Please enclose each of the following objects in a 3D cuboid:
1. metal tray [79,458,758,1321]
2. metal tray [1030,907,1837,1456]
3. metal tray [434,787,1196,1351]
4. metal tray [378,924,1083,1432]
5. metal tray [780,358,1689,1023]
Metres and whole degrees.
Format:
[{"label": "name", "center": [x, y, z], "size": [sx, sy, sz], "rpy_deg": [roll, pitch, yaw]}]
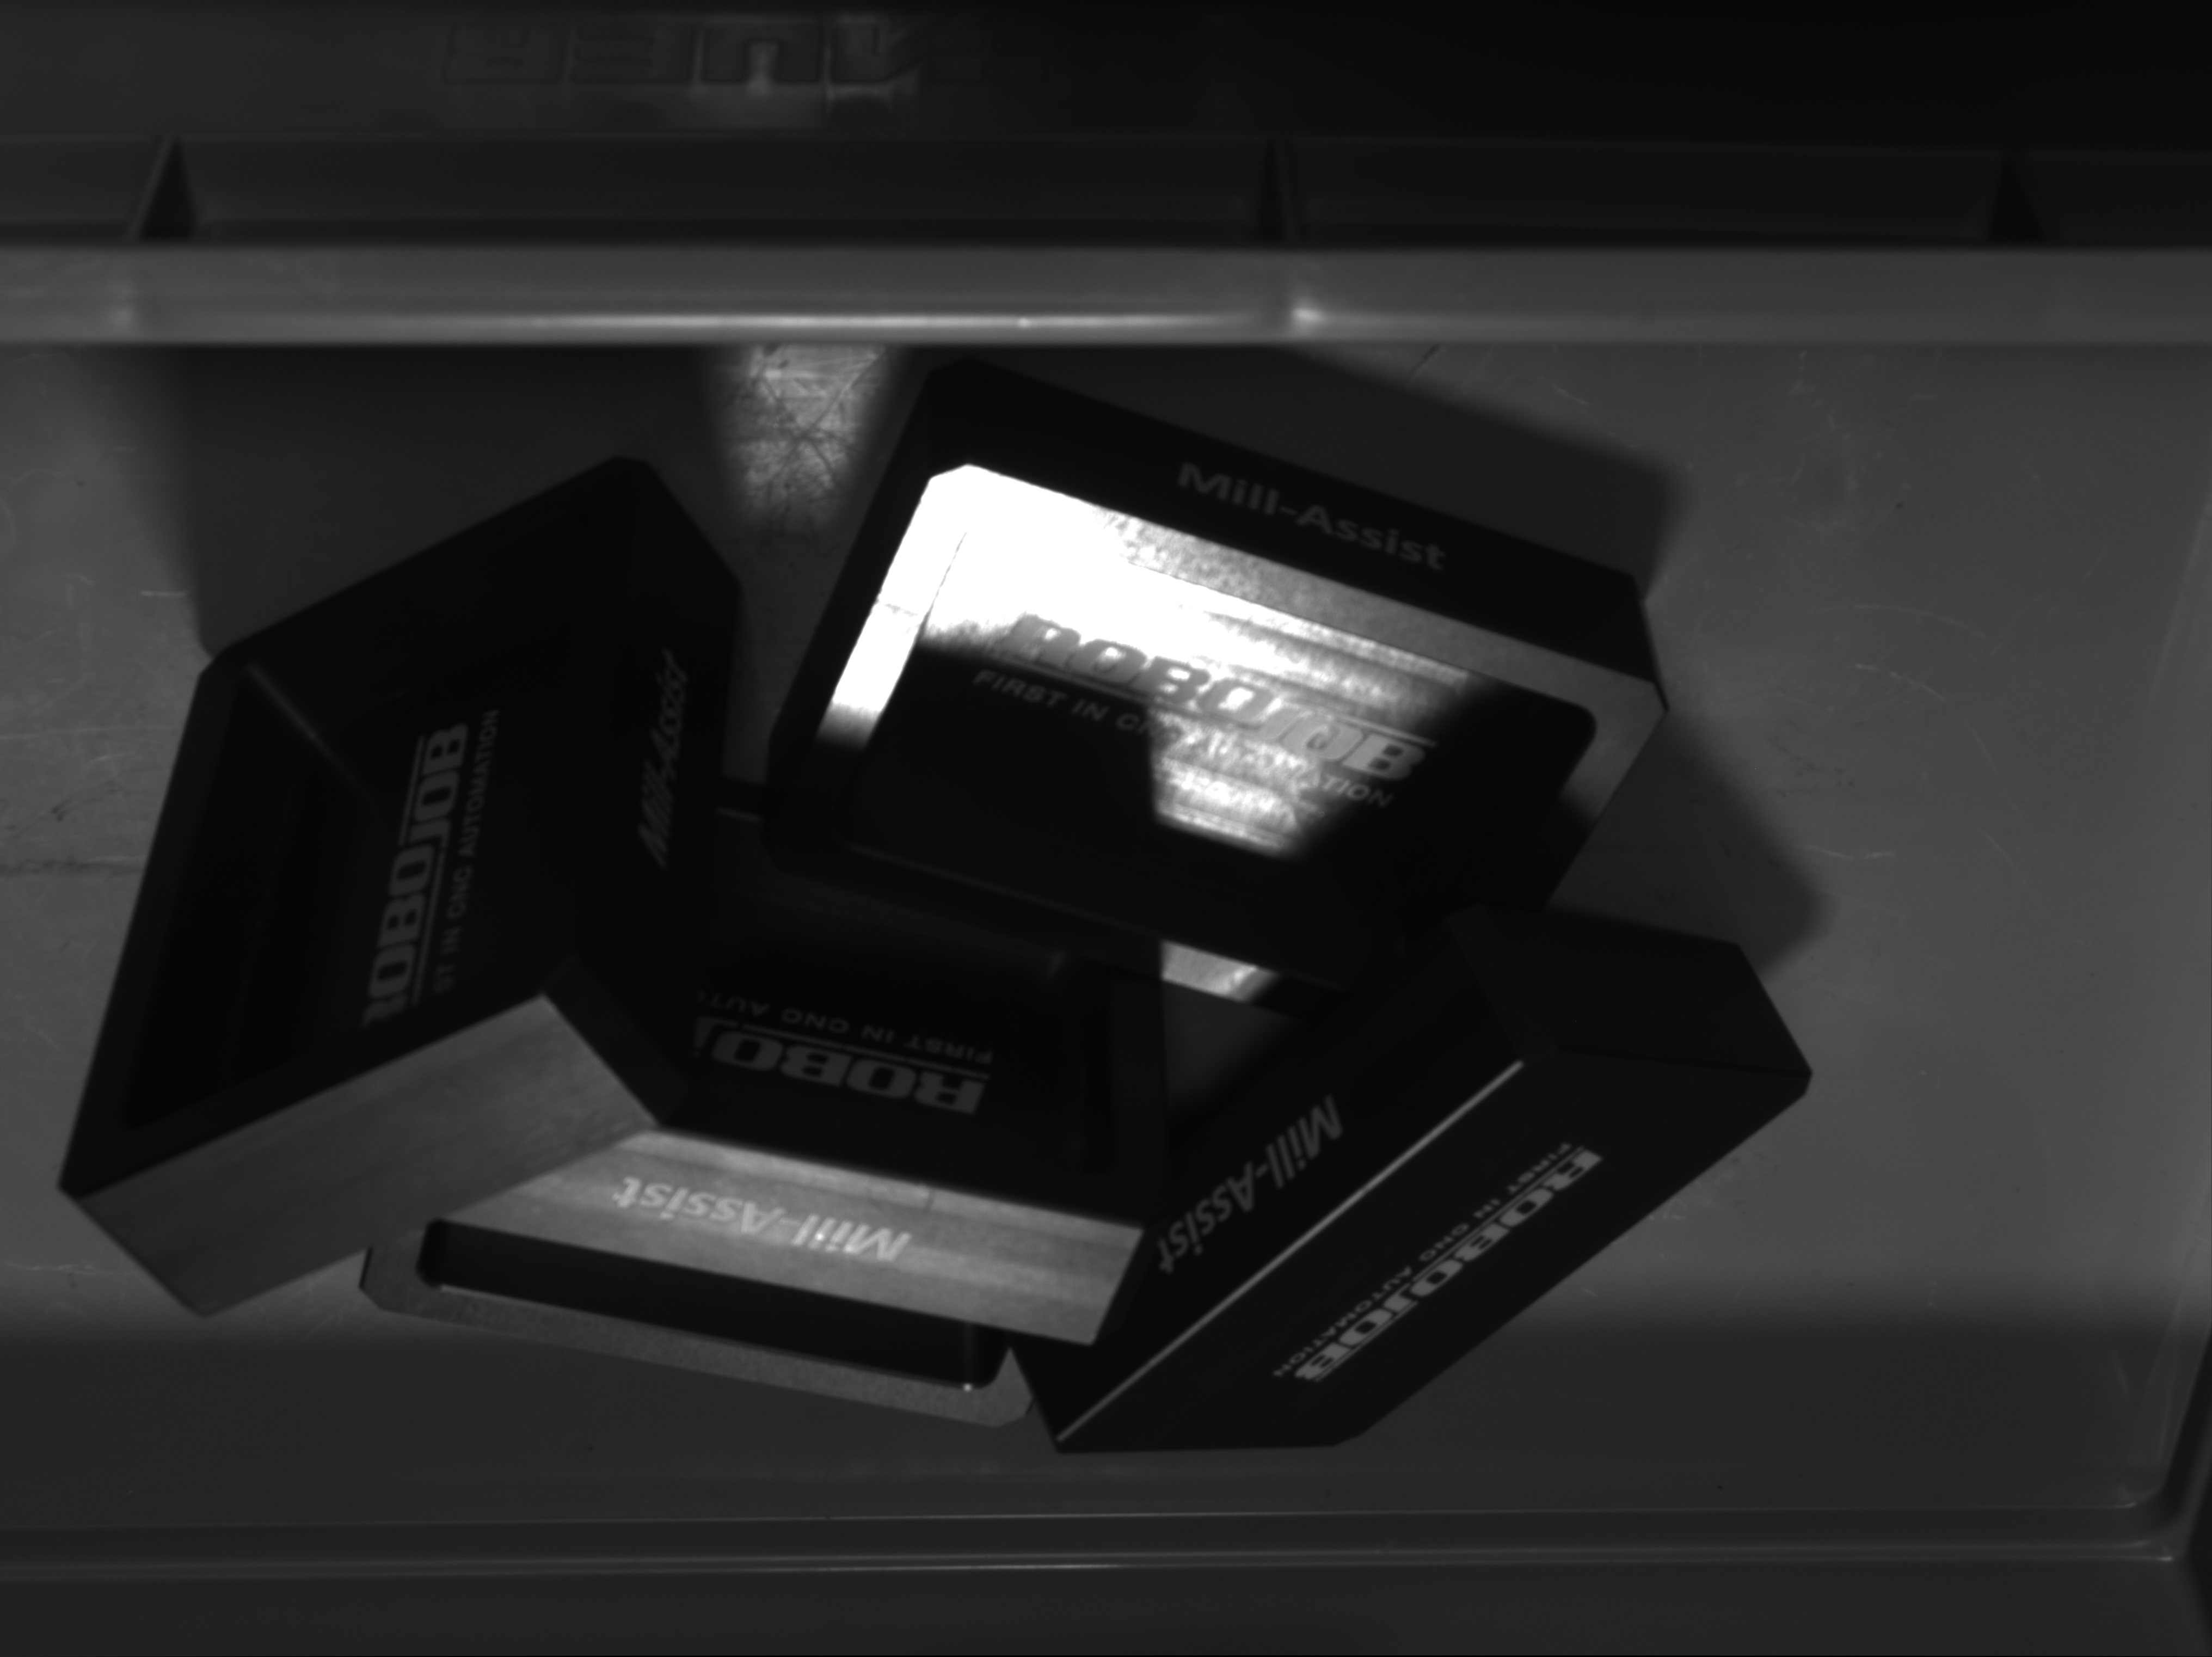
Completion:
[{"label": "metal tray", "center": [-0.103, 0.006, 0.569], "size": [0.090, 0.130, 0.030], "rpy_deg": [-23, 127, 18]}, {"label": "metal tray", "center": [0.058, 0.068, 0.666], "size": [0.090, 0.030, 0.130], "rpy_deg": [10, 136, -47]}, {"label": "metal tray", "center": [-0.053, 0.035, 0.621], "size": [0.130, 0.090, 0.030], "rpy_deg": [12, 128, -12]}, {"label": "metal tray", "center": [-0.062, 0.062, 0.682], "size": [0.130, 0.030, 0.090], "rpy_deg": [12, 128, -12]}, {"label": "metal tray", "center": [0.020, -0.018, 0.619], "size": [0.130, 0.030, 0.090], "rpy_deg": [16, 127, -15]}]
